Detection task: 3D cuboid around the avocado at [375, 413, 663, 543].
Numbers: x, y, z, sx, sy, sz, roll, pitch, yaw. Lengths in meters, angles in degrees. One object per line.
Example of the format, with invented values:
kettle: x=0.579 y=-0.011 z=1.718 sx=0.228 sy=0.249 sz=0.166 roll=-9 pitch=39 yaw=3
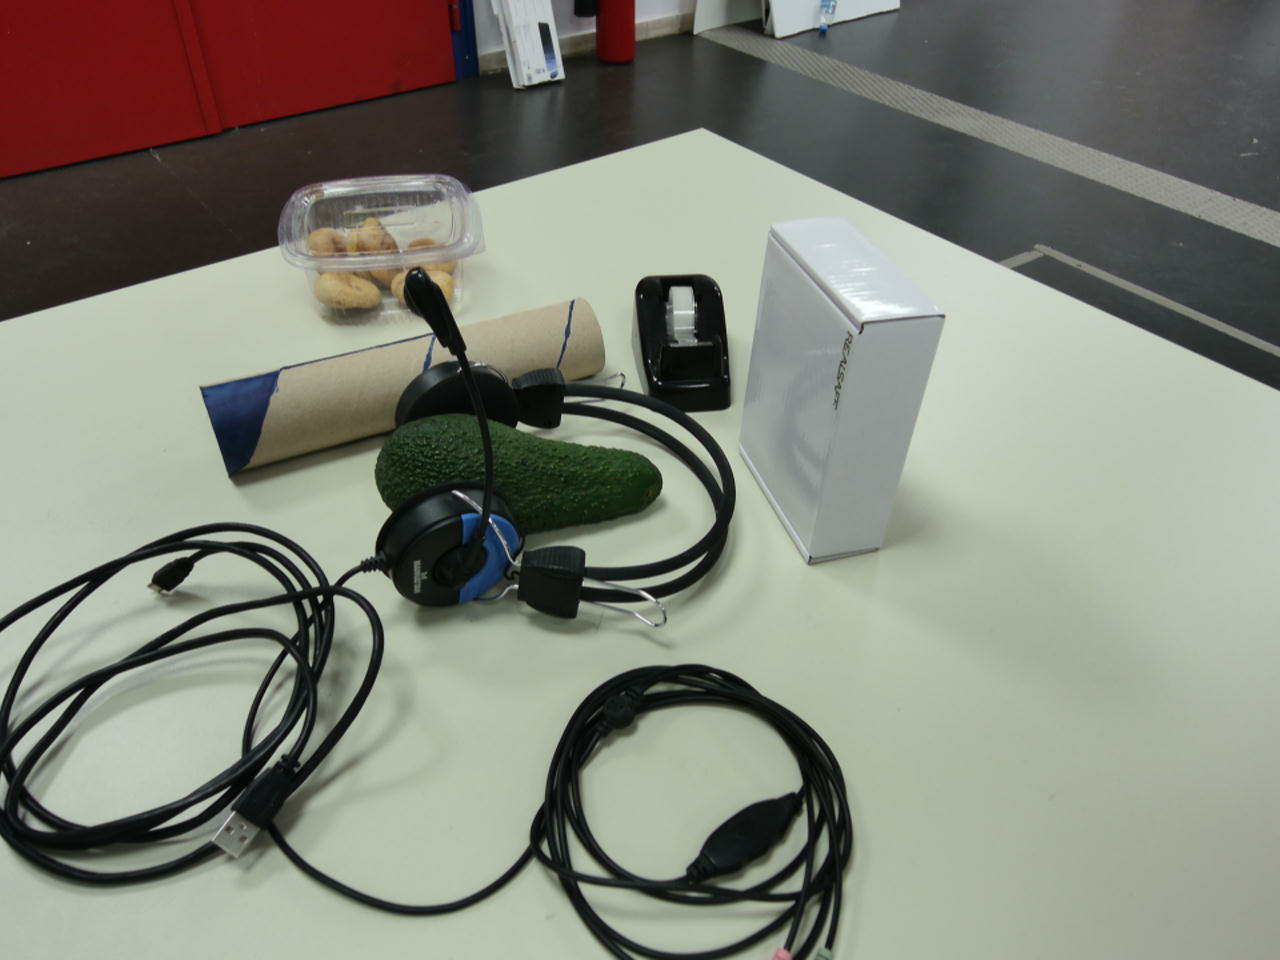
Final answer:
avocado: x=-0.059 y=-0.009 z=0.497 sx=0.141 sy=0.067 sz=0.063 roll=-14 pitch=40 yaw=-18
